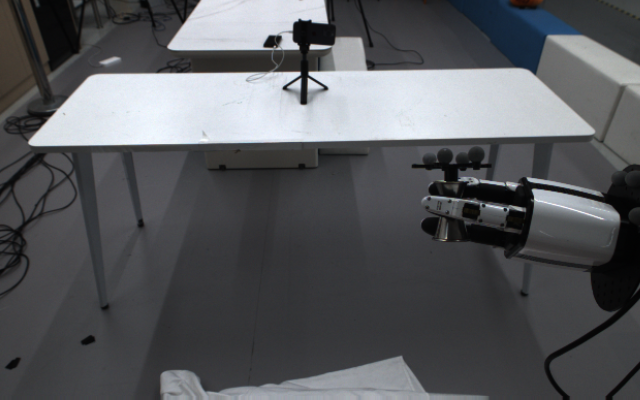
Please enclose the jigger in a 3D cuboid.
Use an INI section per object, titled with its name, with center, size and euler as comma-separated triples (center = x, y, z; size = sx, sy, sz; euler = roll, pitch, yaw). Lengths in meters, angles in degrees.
[jigger]
center = 0.151, 0.012, 0.561
size = 0.043, 0.071, 0.043
euler = -1, 2, 0
